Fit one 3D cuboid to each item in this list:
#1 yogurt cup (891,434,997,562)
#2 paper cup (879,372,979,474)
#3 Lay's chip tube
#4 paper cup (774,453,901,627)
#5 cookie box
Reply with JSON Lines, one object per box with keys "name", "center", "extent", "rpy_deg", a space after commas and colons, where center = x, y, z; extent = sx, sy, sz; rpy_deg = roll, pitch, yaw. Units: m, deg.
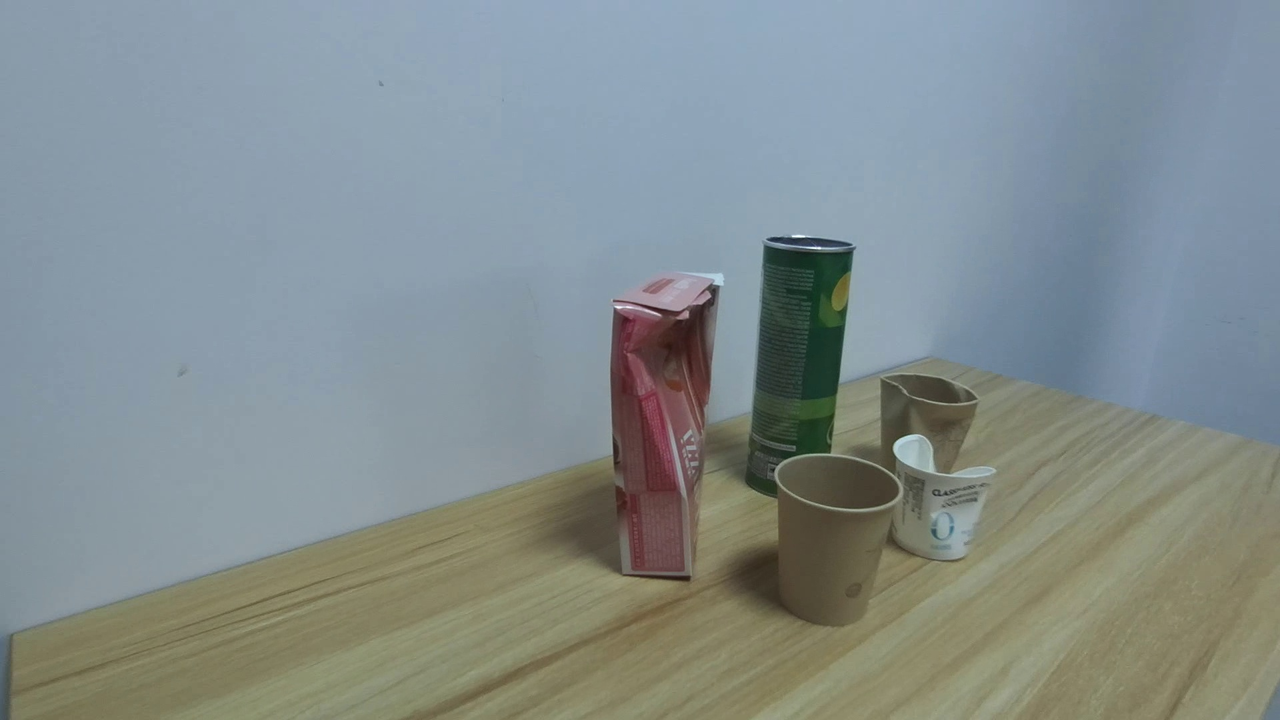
{"name": "yogurt cup", "center": [0.206, 0.099, 0.498], "extent": [0.067, 0.070, 0.067], "rpy_deg": [3, 19, -1]}
{"name": "paper cup", "center": [0.239, 0.061, 0.599], "extent": [0.066, 0.084, 0.071], "rpy_deg": [-1, 17, -8]}
{"name": "Lay's chip tube", "center": [0.125, 0.005, 0.562], "extent": [0.071, 0.202, 0.071], "rpy_deg": [2, 17, 0]}
{"name": "paper cup", "center": [0.115, 0.110, 0.427], "extent": [0.075, 0.082, 0.075], "rpy_deg": [2, 17, 0]}
{"name": "cookie box", "center": [0.019, 0.042, 0.467], "extent": [0.055, 0.184, 0.118], "rpy_deg": [6, 19, 13]}
